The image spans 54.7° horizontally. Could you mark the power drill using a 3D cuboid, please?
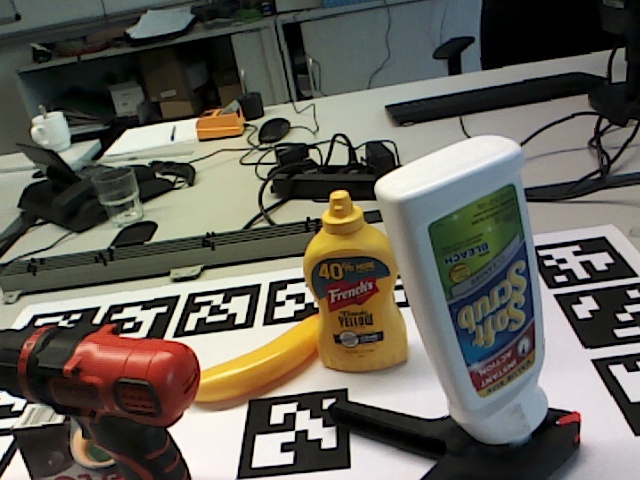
[{"bbox_3d":[-0.158,0.149,0.435,0.185,0.186,0.057,-4,21,19],"label":"power drill"}]

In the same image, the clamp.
[{"bbox_3d":[0.111,0.160,0.508,0.203,0.036,0.166,-10,29,-1],"label":"clamp"}]

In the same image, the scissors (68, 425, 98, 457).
[{"bbox_3d":[-0.221,0.126,0.529,0.204,0.016,0.087,9,37,25],"label":"scissors"}]

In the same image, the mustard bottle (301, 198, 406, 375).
[{"bbox_3d":[0.031,0.047,0.627,0.096,0.191,0.058,0,29,17],"label":"mustard bottle"}]

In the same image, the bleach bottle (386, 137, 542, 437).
[{"bbox_3d":[0.128,0.057,0.471,0.102,0.250,0.068,-23,25,-8],"label":"bleach bottle"}]

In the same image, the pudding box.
[{"bbox_3d":[-0.202,0.184,0.551,0.114,0.090,0.038,-6,21,9],"label":"pudding box"}]

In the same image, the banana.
[{"bbox_3d":[-0.064,0.112,0.680,0.196,0.039,0.075,-28,15,-29],"label":"banana"}]
